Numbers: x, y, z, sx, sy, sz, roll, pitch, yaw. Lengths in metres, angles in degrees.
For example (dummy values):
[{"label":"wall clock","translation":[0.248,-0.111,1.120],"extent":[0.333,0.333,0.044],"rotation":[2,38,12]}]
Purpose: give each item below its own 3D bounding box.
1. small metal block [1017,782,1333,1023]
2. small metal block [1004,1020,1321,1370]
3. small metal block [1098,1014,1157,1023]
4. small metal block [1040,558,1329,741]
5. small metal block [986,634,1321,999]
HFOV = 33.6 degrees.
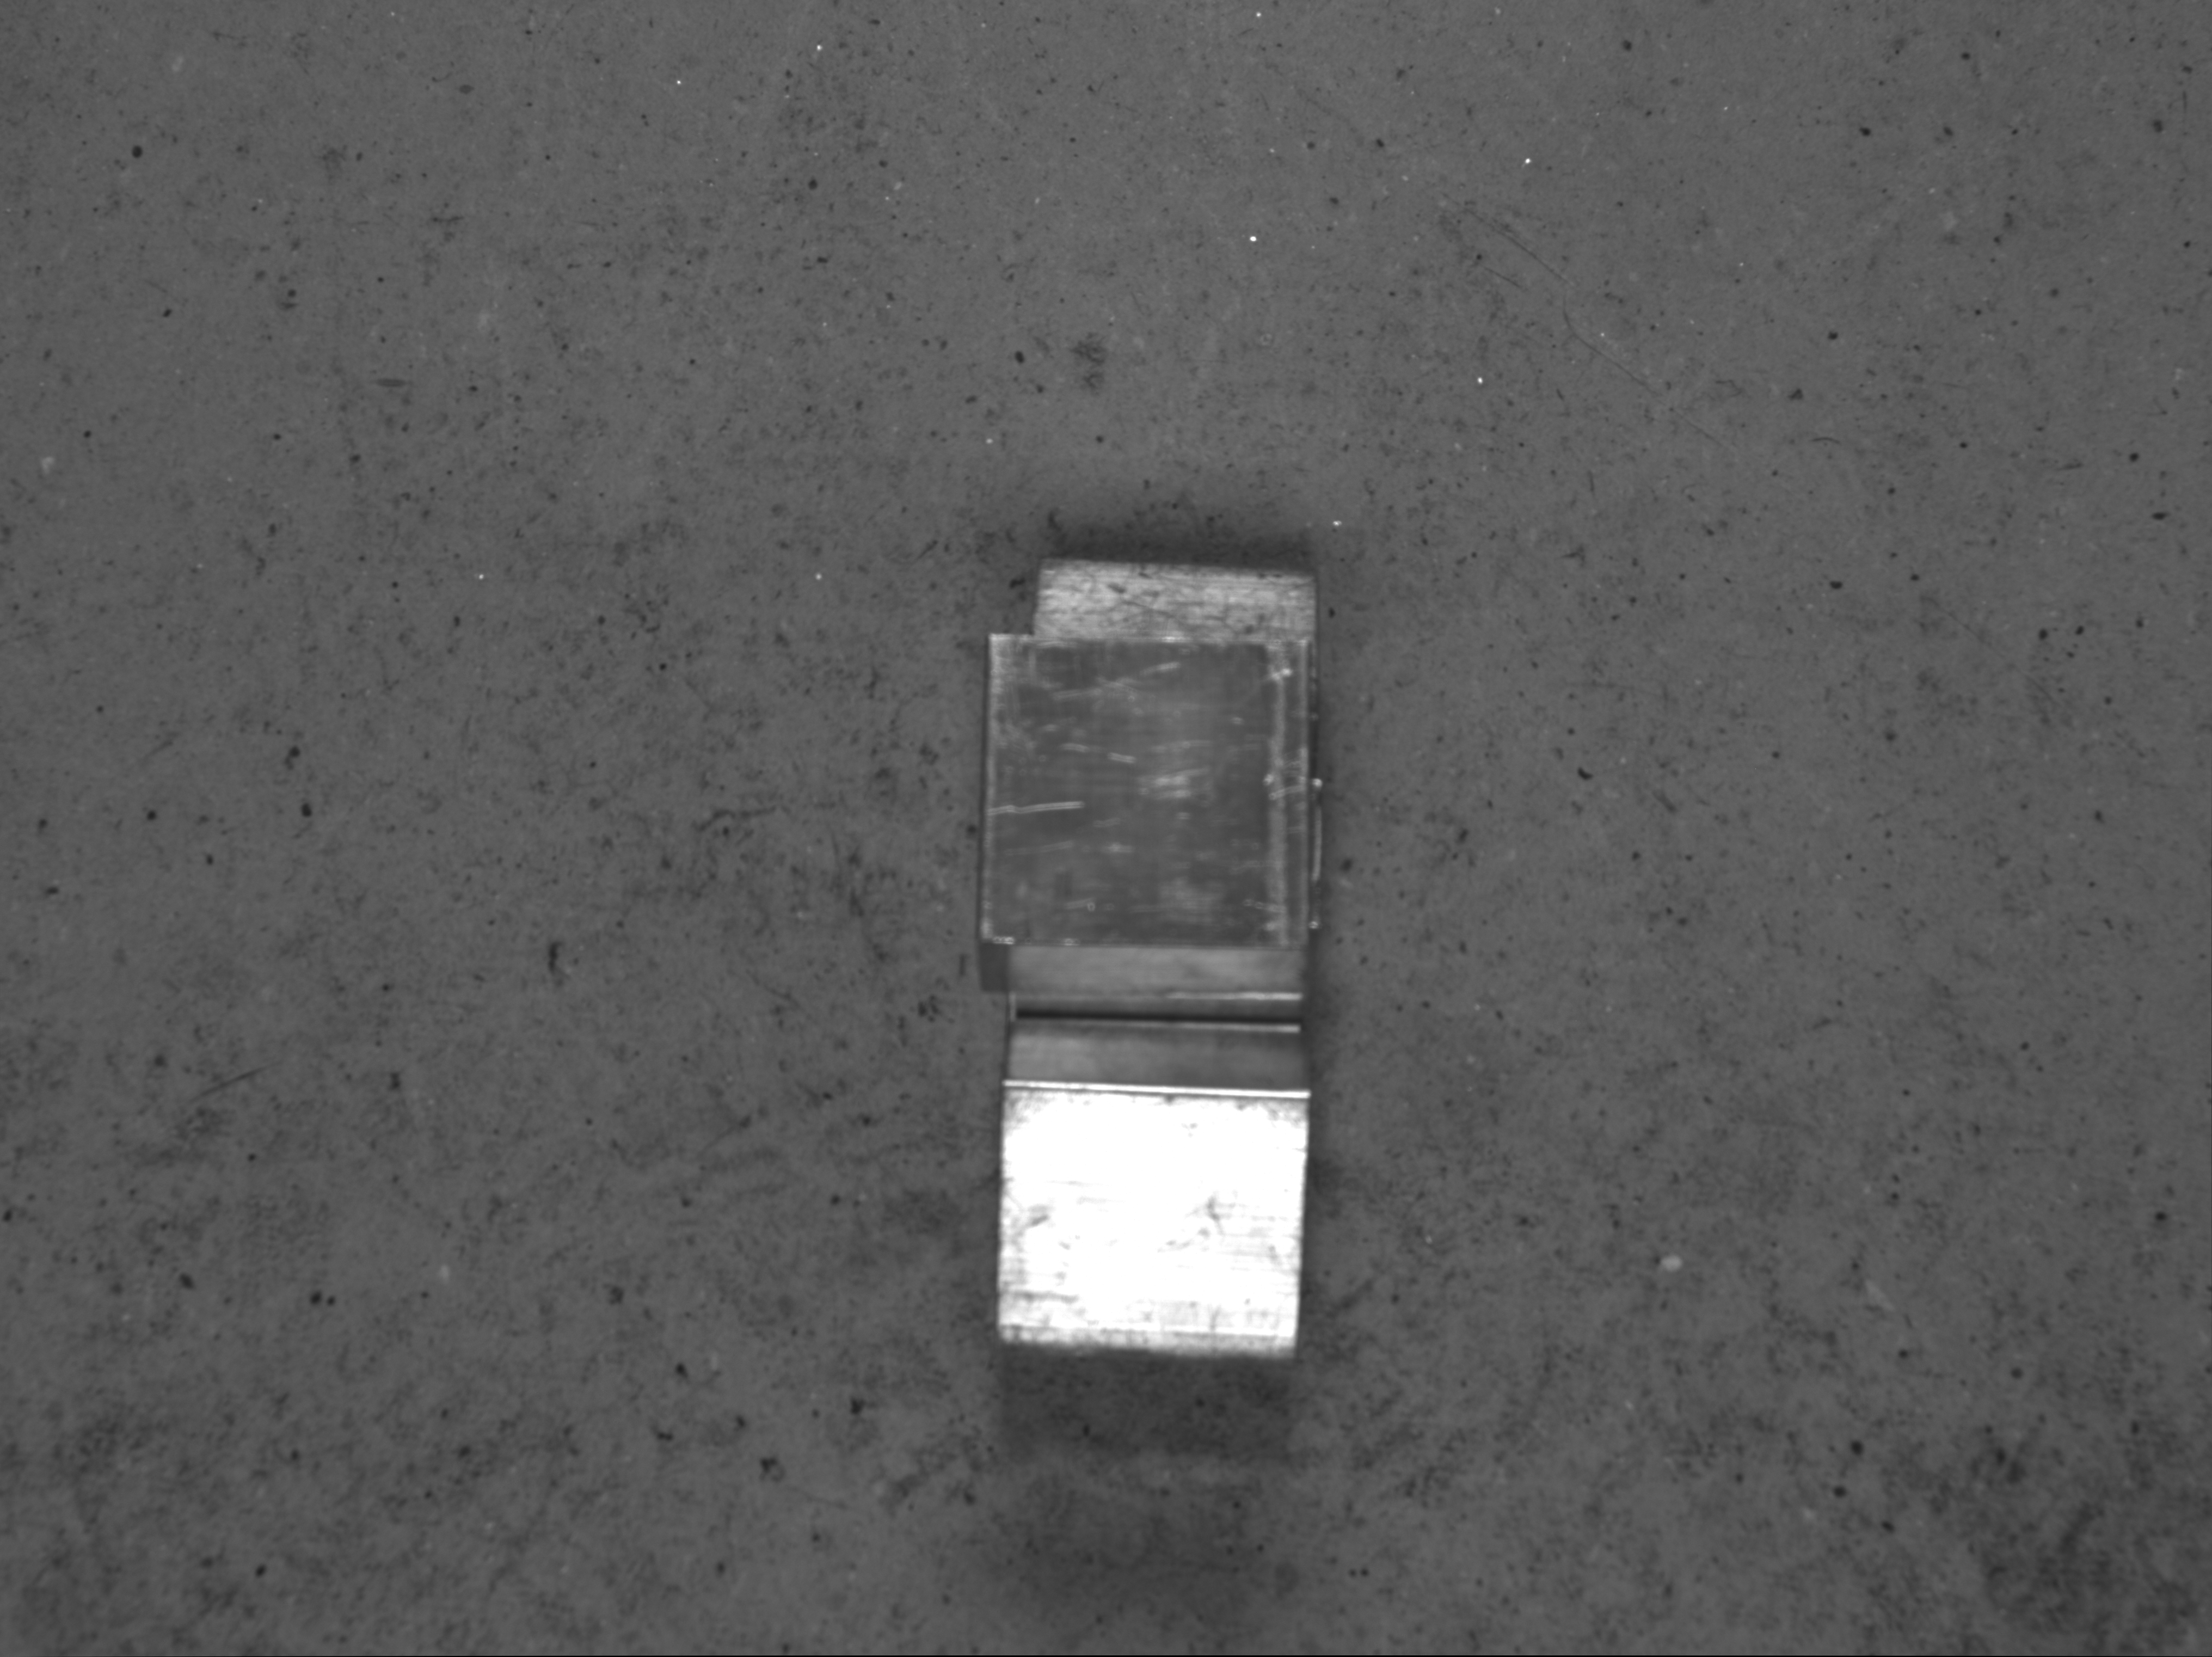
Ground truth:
[{"label":"small metal block","translation":[0.011,0.012,0.600],"extent":[0.050,0.050,0.025],"rotation":[2,70,1]},{"label":"small metal block","translation":[0.009,0.061,0.609],"extent":[0.050,0.025,0.050],"rotation":[2,110,1]},{"label":"small metal block","translation":[0.011,0.025,0.637],"extent":[0.050,0.025,0.050],"rotation":[2,70,1]},{"label":"small metal block","translation":[0.013,-0.023,0.641],"extent":[0.050,0.025,0.050],"rotation":[2,34,1]},{"label":"small metal block","translation":[0.008,-0.002,0.566],"extent":[0.050,0.025,0.050],"rotation":[1,70,0]}]
